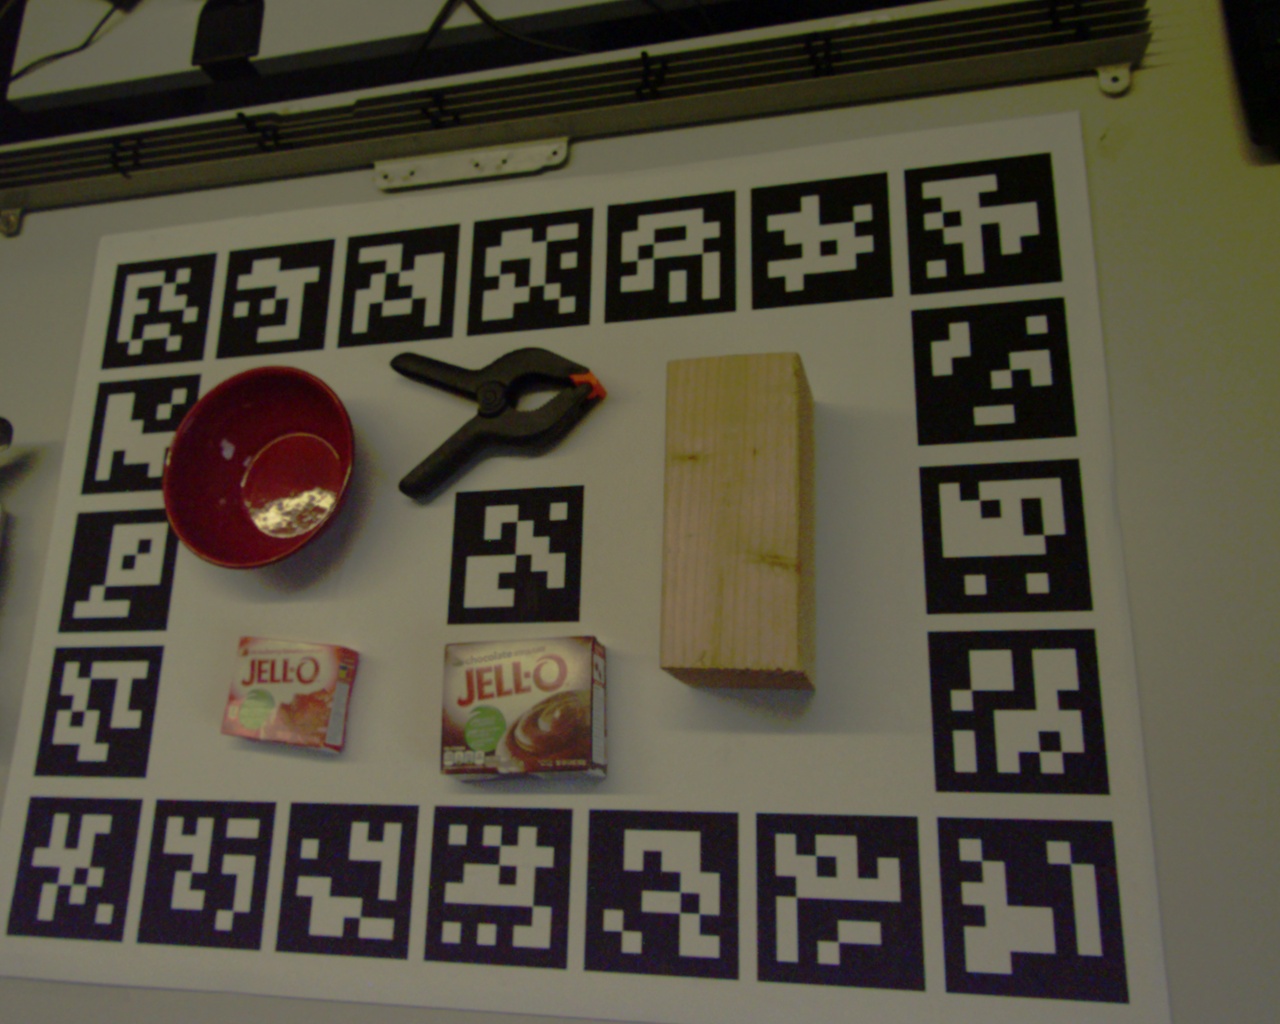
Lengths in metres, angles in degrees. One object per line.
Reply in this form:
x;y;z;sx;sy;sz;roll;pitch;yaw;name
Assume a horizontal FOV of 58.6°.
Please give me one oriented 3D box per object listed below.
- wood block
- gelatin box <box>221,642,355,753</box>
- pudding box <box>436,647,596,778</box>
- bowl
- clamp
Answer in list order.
0.062;0.018;0.781;0.090;0.090;0.206;0;75;14;wood block
-0.269;0.140;0.869;0.090;0.030;0.073;5;78;17;gelatin box
-0.088;0.144;0.816;0.115;0.038;0.090;-4;78;17;pudding box
-0.290;-0.025;0.916;0.163;0.055;0.162;-3;77;13;bowl
-0.130;-0.070;0.896;0.166;0.036;0.122;-13;72;10;clamp
